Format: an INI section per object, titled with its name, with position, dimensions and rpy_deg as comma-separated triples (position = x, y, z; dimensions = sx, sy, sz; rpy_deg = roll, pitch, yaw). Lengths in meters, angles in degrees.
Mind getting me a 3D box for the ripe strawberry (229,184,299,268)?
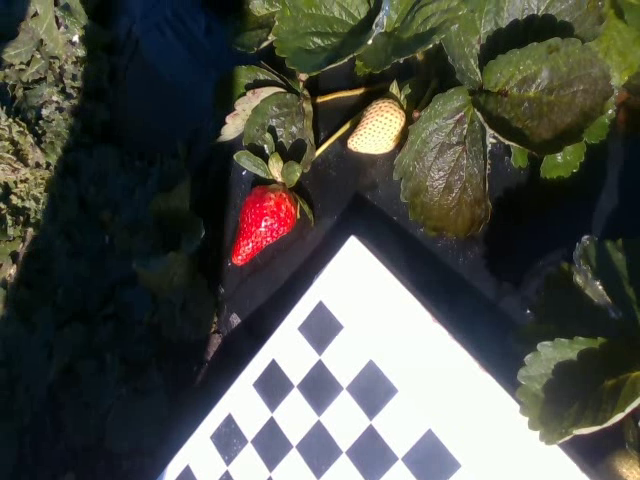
[ripe strawberry]
position = -0.041, -0.009, 0.401
dimensions = 0.048, 0.069, 0.040
rpy_deg = 26, -1, 36
